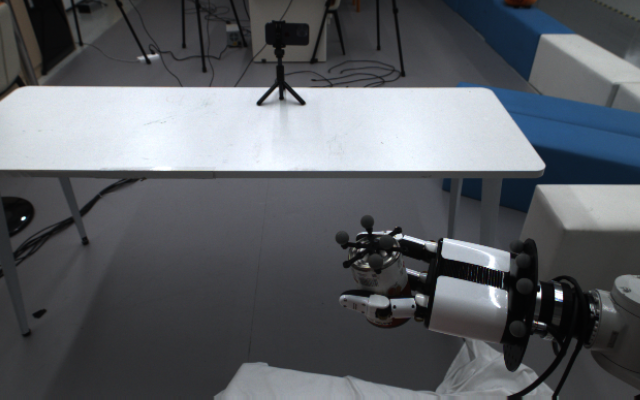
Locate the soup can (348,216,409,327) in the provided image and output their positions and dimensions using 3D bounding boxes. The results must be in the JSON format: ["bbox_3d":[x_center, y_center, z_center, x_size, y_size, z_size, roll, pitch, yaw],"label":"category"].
[{"bbox_3d":[0.081,0.103,0.613,0.067,0.101,0.067,-13,31,8],"label":"soup can"}]
